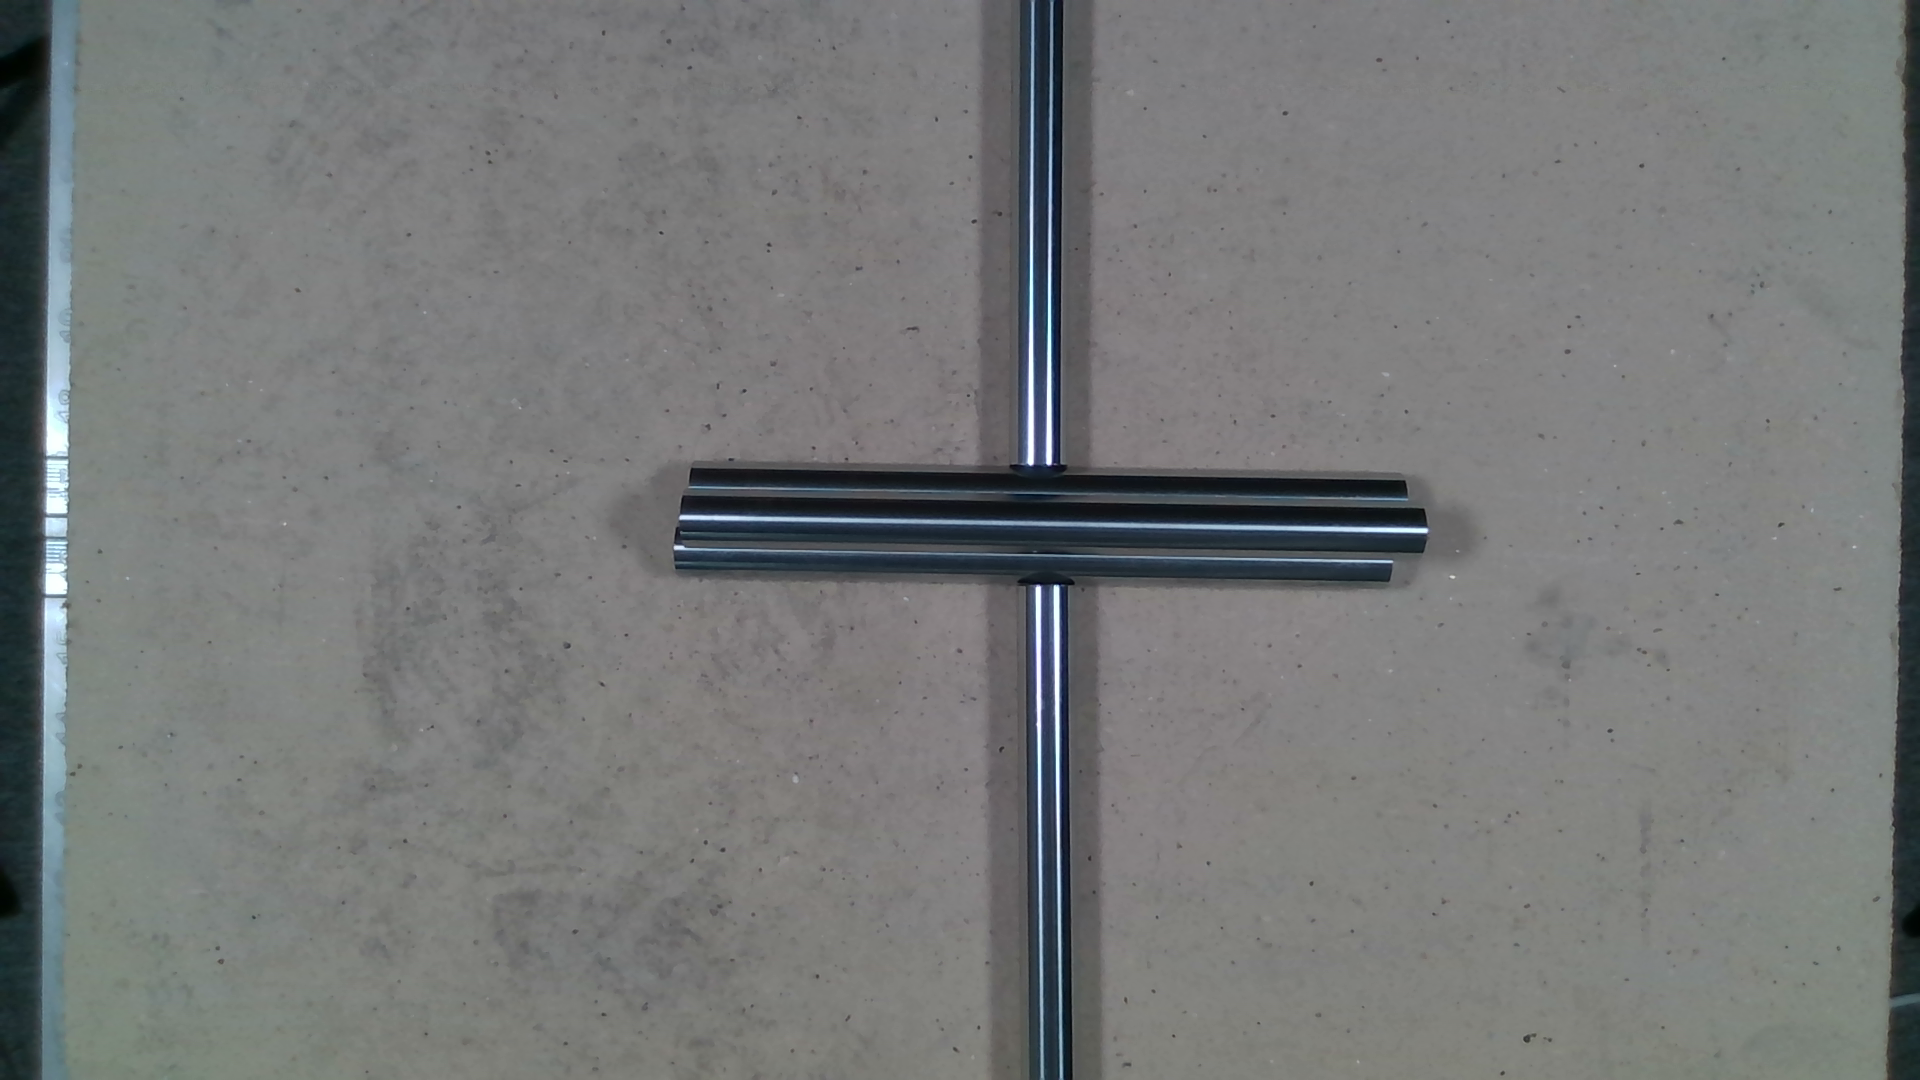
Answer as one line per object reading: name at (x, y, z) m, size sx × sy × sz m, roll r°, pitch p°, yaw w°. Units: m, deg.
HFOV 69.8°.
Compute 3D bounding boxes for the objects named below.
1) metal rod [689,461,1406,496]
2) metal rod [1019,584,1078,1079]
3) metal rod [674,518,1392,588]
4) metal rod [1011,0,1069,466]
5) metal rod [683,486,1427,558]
metal rod at (0.036, -0.019, 0.588) m, size 0.300 × 0.025 × 0.025 m, roll 1°, pitch 90°, yaw 0°
metal rod at (0.038, 0.169, 0.589) m, size 0.025 × 0.025 × 0.300 m, roll -1°, pitch 91°, yaw 0°
metal rod at (0.031, 0.006, 0.588) m, size 0.300 × 0.025 × 0.025 m, roll 1°, pitch 90°, yaw 0°
metal rod at (0.034, -0.181, 0.585) m, size 0.025 × 0.025 × 0.300 m, roll 0°, pitch 91°, yaw 0°
metal rod at (0.038, -0.007, 0.567) m, size 0.300 × 0.025 × 0.025 m, roll 1°, pitch 90°, yaw 0°
